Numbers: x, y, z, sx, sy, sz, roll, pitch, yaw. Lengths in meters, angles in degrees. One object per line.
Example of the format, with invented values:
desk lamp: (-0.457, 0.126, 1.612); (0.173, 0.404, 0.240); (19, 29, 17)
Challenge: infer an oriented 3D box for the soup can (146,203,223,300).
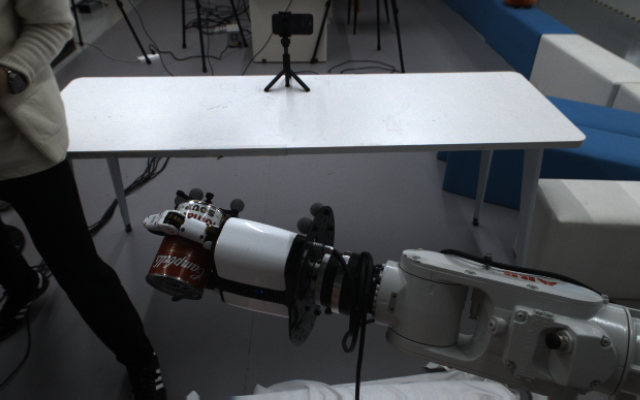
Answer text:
soup can: (-0.155, 0.059, 0.575); (0.067, 0.067, 0.101); (9, 57, 10)
